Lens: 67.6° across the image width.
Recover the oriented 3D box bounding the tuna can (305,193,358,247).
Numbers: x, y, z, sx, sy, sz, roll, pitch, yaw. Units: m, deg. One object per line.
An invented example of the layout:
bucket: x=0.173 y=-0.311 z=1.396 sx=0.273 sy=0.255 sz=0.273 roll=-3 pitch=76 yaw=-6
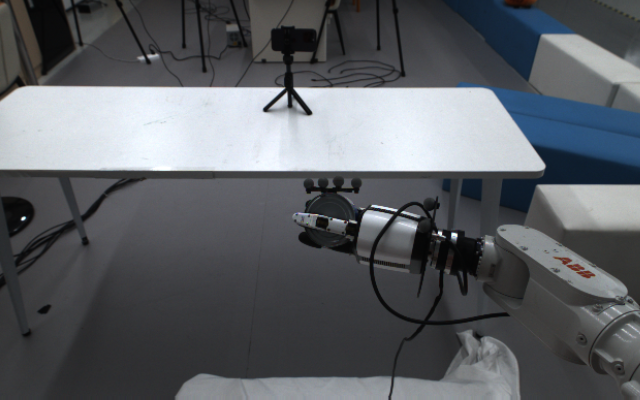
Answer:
tuna can: x=0.019 y=0.031 z=0.771 sx=0.085 sy=0.085 sz=0.034 roll=15 pitch=1 yaw=18
